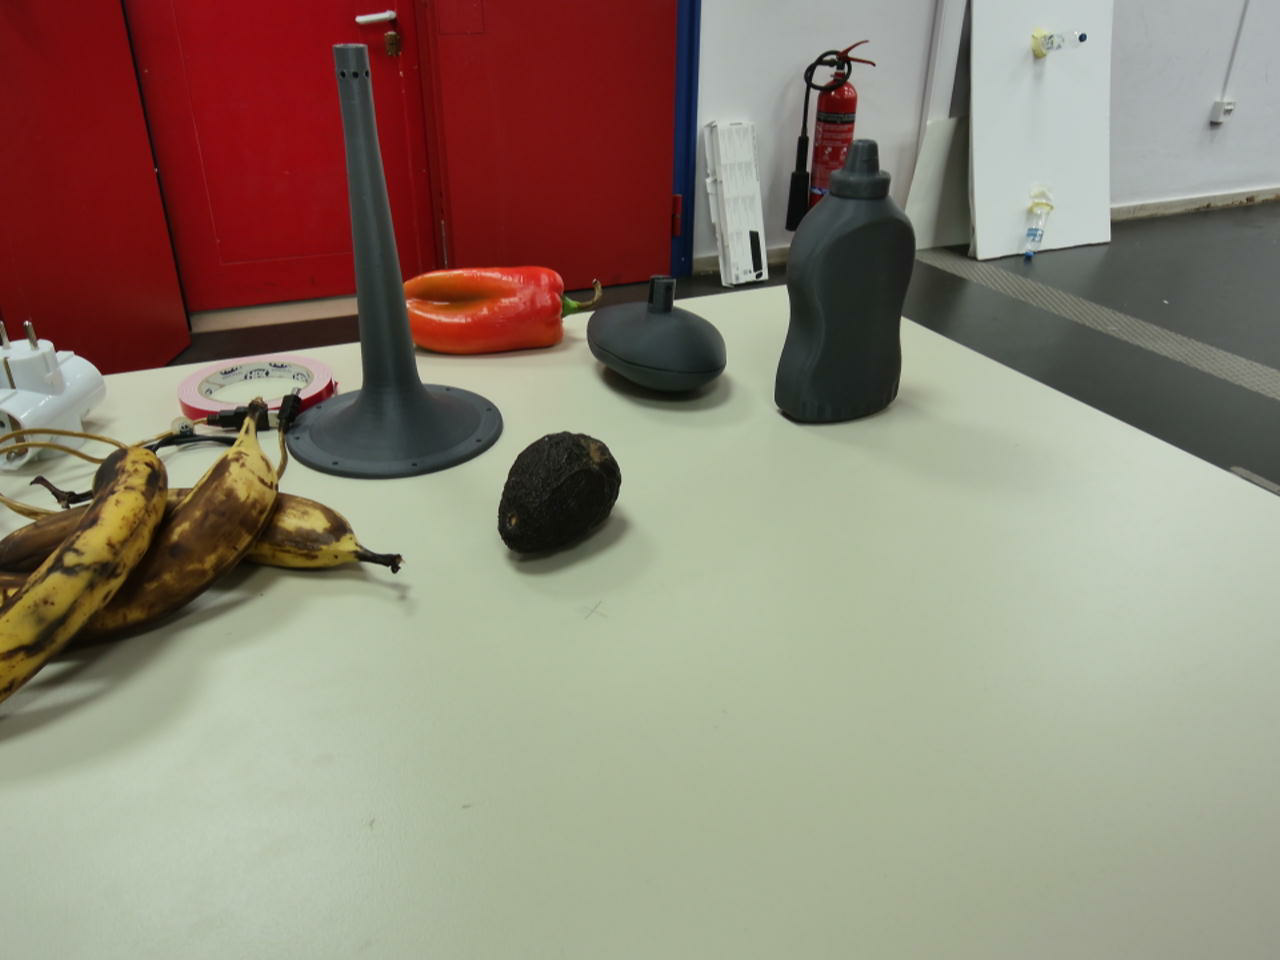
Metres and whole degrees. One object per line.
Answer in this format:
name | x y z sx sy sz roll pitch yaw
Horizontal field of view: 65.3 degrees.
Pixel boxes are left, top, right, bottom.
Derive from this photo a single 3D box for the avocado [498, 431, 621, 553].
avocado | -0.050 0.006 0.589 0.062 0.062 0.092 21 34 36
